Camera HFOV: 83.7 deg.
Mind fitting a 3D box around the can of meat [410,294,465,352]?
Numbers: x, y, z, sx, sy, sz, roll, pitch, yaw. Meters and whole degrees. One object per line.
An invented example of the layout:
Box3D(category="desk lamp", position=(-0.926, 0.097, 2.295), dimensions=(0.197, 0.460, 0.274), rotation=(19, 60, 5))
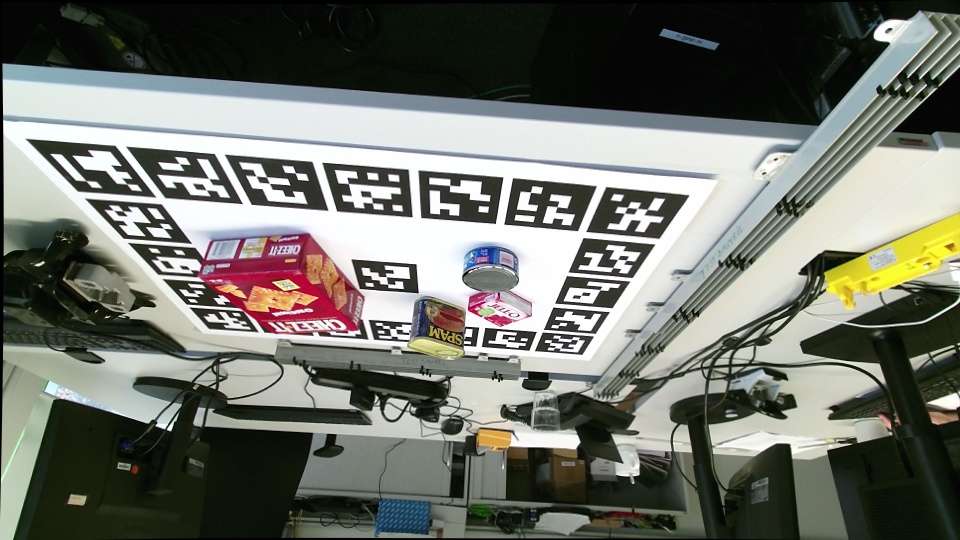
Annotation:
Box3D(category="can of meat", position=(-0.076, 0.098, 0.980), dimensions=(0.102, 0.083, 0.058), rotation=(20, 146, -29))

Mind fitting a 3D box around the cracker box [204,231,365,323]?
Box3D(category="cracker box", position=(-0.310, 0.022, 0.881), dimensions=(0.165, 0.071, 0.214), rotation=(-2, 151, 13))

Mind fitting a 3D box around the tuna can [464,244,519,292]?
Box3D(category="tuna can", position=(0.018, -0.002, 0.827), dimensions=(0.086, 0.033, 0.086), rotation=(1, 147, 1))

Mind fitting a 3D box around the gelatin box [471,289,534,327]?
Box3D(category="gelatin box", position=(0.041, 0.068, 0.954), dimensions=(0.073, 0.030, 0.090), rotation=(-21, 139, 40))
